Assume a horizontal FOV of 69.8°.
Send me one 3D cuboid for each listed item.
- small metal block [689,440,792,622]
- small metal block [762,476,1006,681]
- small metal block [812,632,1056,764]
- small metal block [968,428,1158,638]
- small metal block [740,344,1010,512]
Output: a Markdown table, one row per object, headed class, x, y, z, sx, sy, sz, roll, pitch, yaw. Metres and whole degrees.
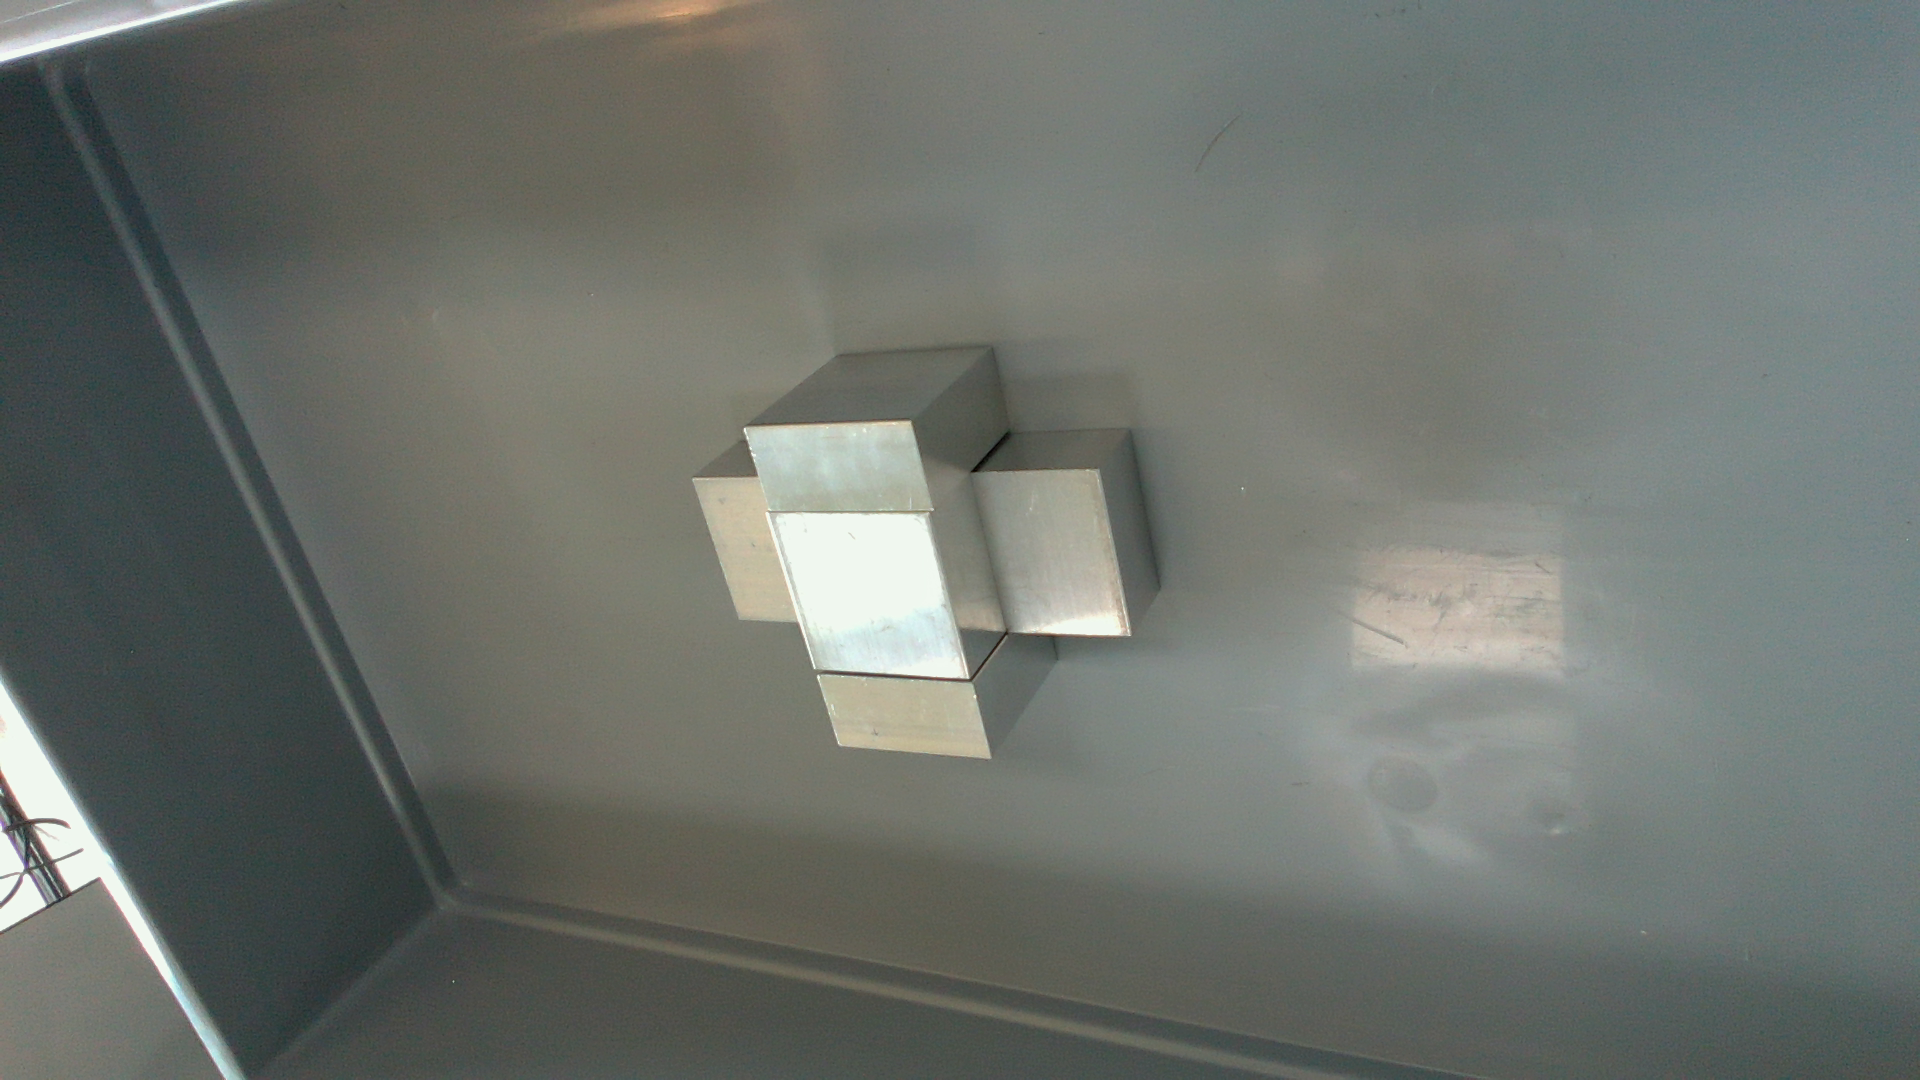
| class | x | y | z | sx | sy | sz | roll | pitch | yaw |
| --- | --- | --- | --- | --- | --- | --- | --- | --- | --- |
| small metal block | -0.047 | -0.003 | 0.414 | 0.050 | 0.025 | 0.050 | 1 | 119 | 28 |
| small metal block | -0.020 | 0.009 | 0.374 | 0.050 | 0.025 | 0.050 | 1 | 119 | 28 |
| small metal block | -0.006 | 0.038 | 0.400 | 0.050 | 0.050 | 0.025 | 1 | 119 | 28 |
| small metal block | 0.023 | -0.002 | 0.378 | 0.050 | 0.025 | 0.050 | 1 | 119 | 28 |
| small metal block | -0.021 | -0.030 | 0.367 | 0.050 | 0.050 | 0.025 | 1 | 119 | 28 |
